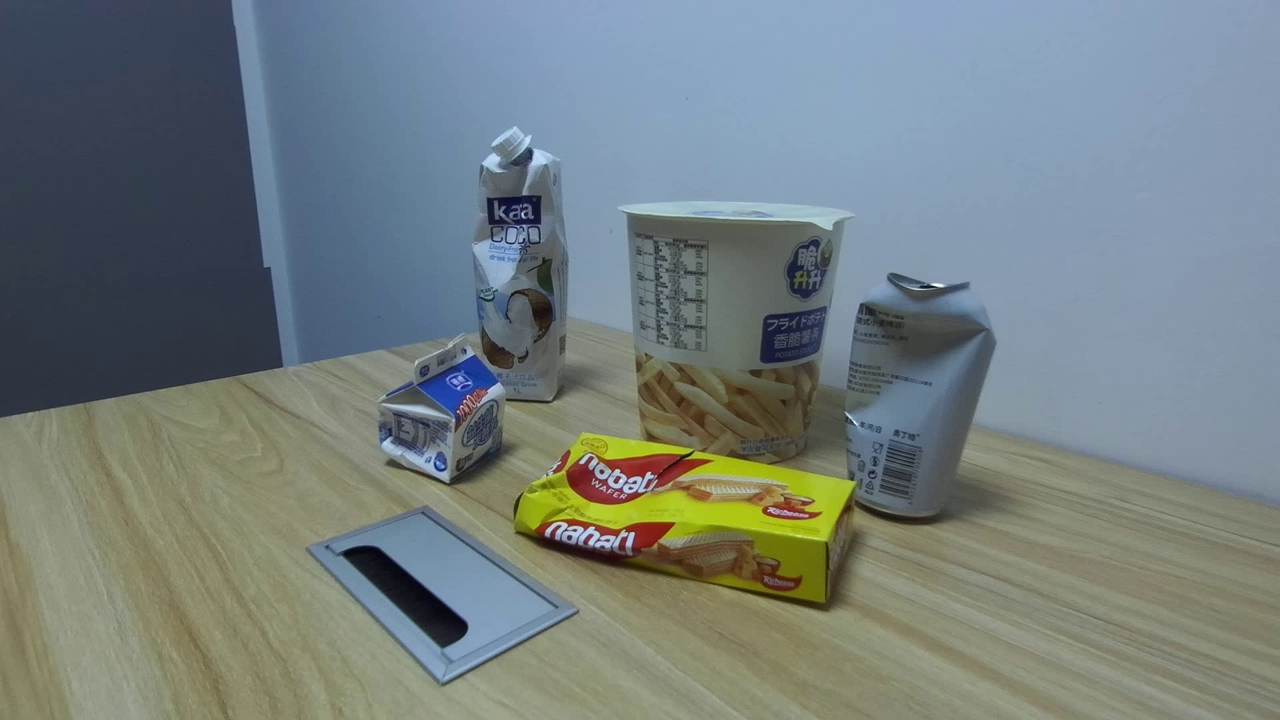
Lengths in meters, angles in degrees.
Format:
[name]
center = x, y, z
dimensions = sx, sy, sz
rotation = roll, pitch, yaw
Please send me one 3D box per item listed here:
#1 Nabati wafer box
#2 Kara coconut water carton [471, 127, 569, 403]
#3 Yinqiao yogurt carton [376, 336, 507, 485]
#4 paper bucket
[Nabati wafer box]
center = 0.023, 0.094, 0.447
dimensions = 0.203, 0.042, 0.107
rotation = 7, 15, 23
[Kara coconut water carton]
center = -0.116, -0.089, 0.682
dimensions = 0.083, 0.255, 0.078
rotation = 8, 20, 18
[Yinqiao yogurt carton]
center = -0.155, 0.033, 0.546
dimensions = 0.080, 0.097, 0.074
rotation = 14, 20, 17
[paper bucket]
center = 0.076, -0.029, 0.597
dimensions = 0.198, 0.194, 0.198
rotation = 1, 16, 0
